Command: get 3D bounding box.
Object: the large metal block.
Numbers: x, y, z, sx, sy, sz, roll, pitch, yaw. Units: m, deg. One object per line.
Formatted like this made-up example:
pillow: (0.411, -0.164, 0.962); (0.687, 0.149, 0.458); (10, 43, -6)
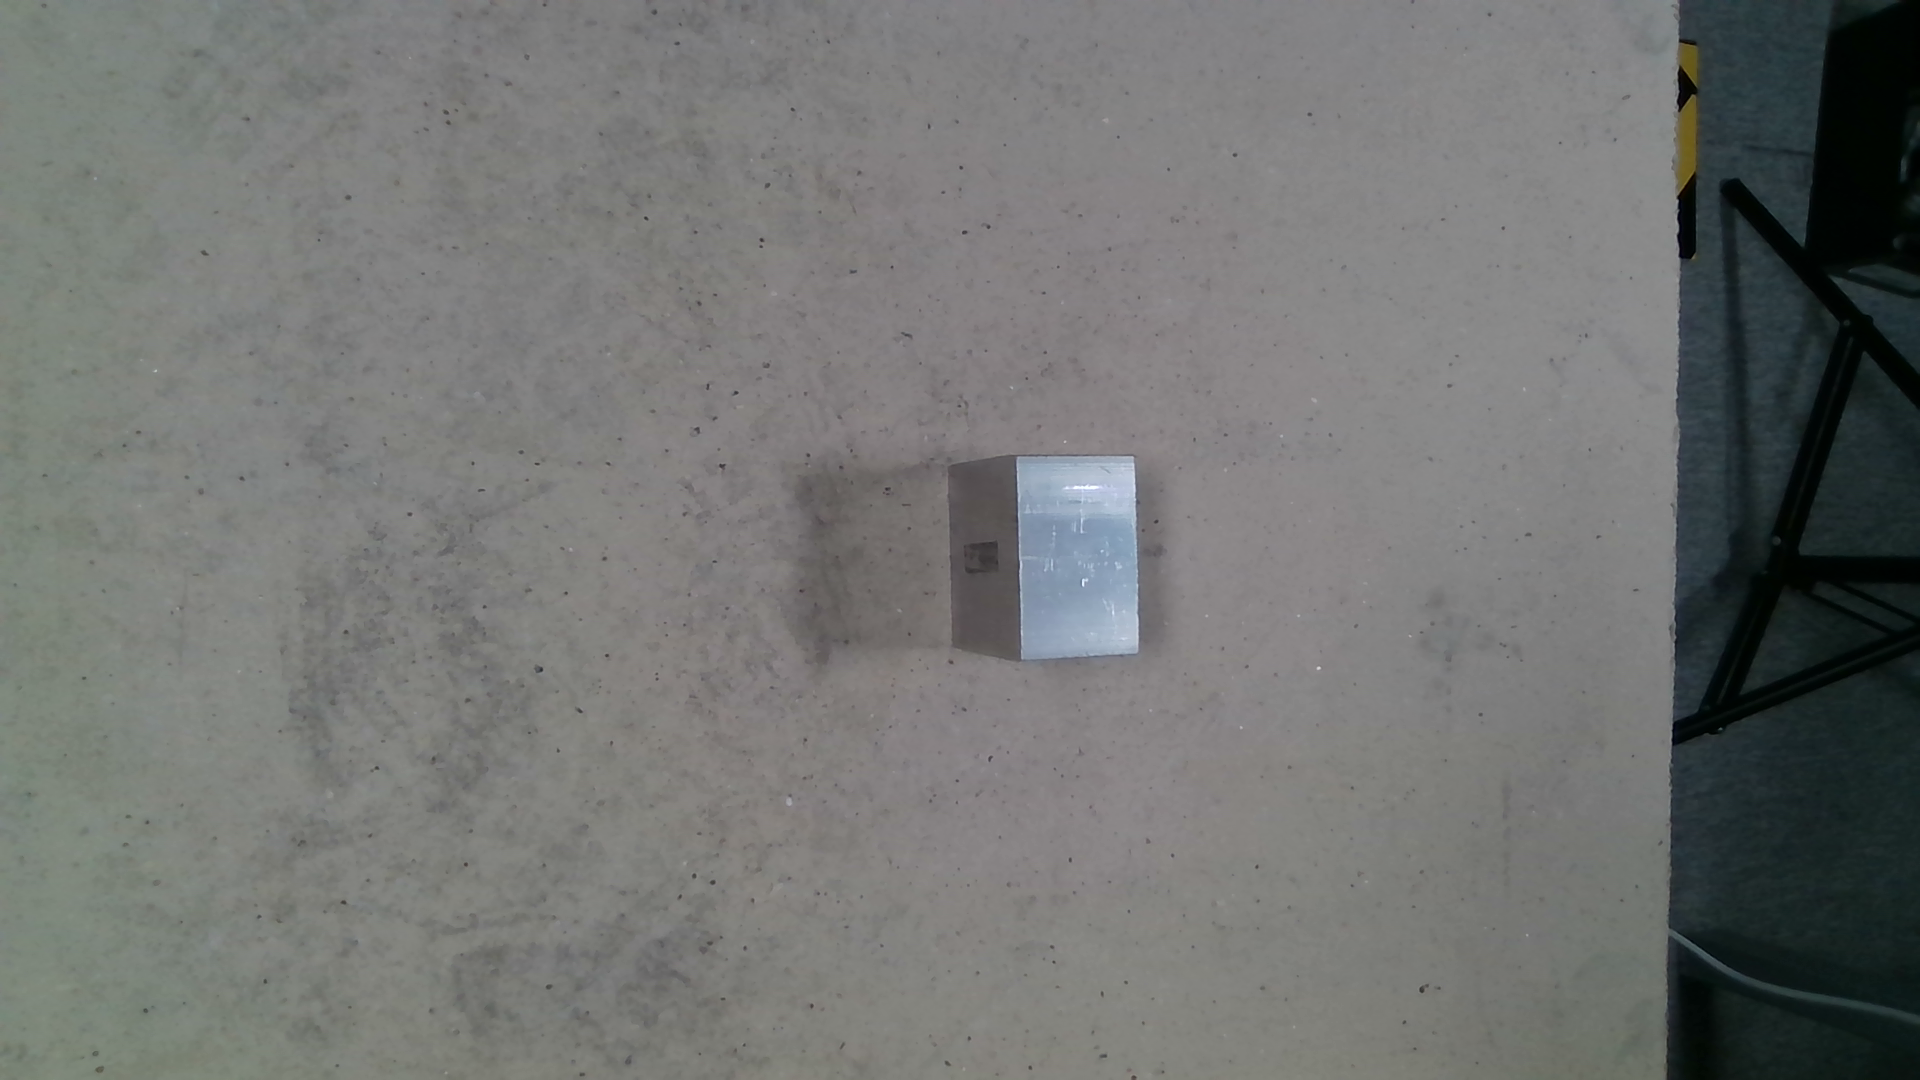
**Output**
large metal block: (0.032, 0.006, 0.569); (0.050, 0.080, 0.080); (-2, 91, -20)
